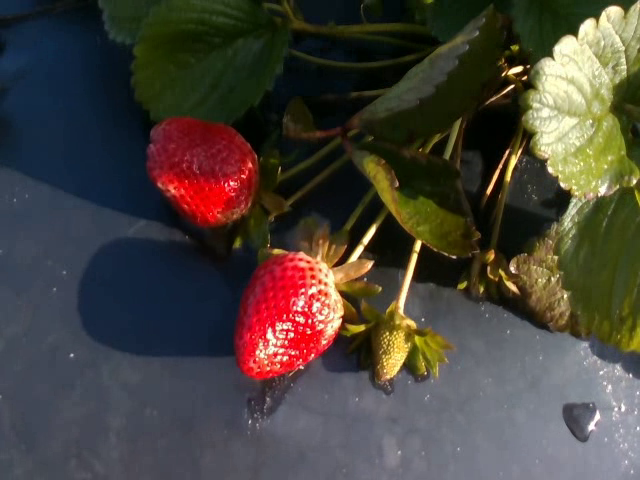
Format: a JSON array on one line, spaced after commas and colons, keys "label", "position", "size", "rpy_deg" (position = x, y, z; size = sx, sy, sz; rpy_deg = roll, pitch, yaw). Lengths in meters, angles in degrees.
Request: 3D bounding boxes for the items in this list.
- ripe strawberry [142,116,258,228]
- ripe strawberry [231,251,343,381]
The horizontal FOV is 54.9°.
[{"label": "ripe strawberry", "position": [-0.046, -0.027, 0.241], "size": [0.054, 0.048, 0.039], "rpy_deg": [17, -3, -31]}, {"label": "ripe strawberry", "position": [-0.012, 0.027, 0.211], "size": [0.038, 0.043, 0.053], "rpy_deg": [-42, 8, 44]}]
